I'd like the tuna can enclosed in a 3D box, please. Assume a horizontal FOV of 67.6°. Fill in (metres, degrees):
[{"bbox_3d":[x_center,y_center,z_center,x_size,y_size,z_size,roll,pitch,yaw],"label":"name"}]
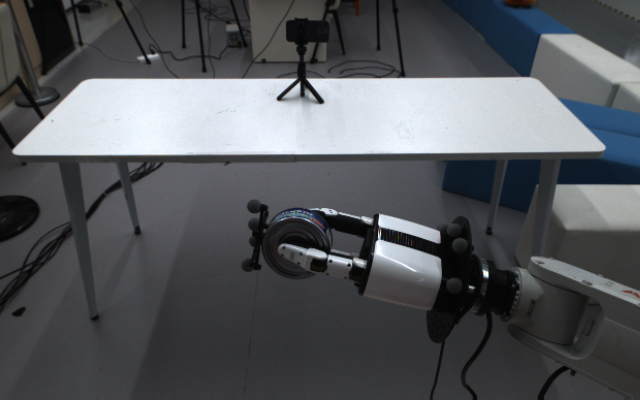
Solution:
[{"bbox_3d":[-0.025,0.058,0.597,0.085,0.085,0.034,4,18,3],"label":"tuna can"}]
